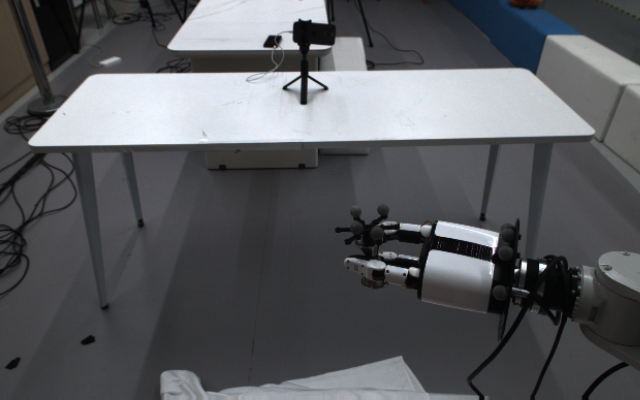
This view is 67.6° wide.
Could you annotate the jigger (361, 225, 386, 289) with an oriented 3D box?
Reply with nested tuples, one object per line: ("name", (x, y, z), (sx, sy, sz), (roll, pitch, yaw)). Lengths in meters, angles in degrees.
("jigger", (0.075, 0.081, 0.683), (0.043, 0.071, 0.043), (-11, 23, 5))
